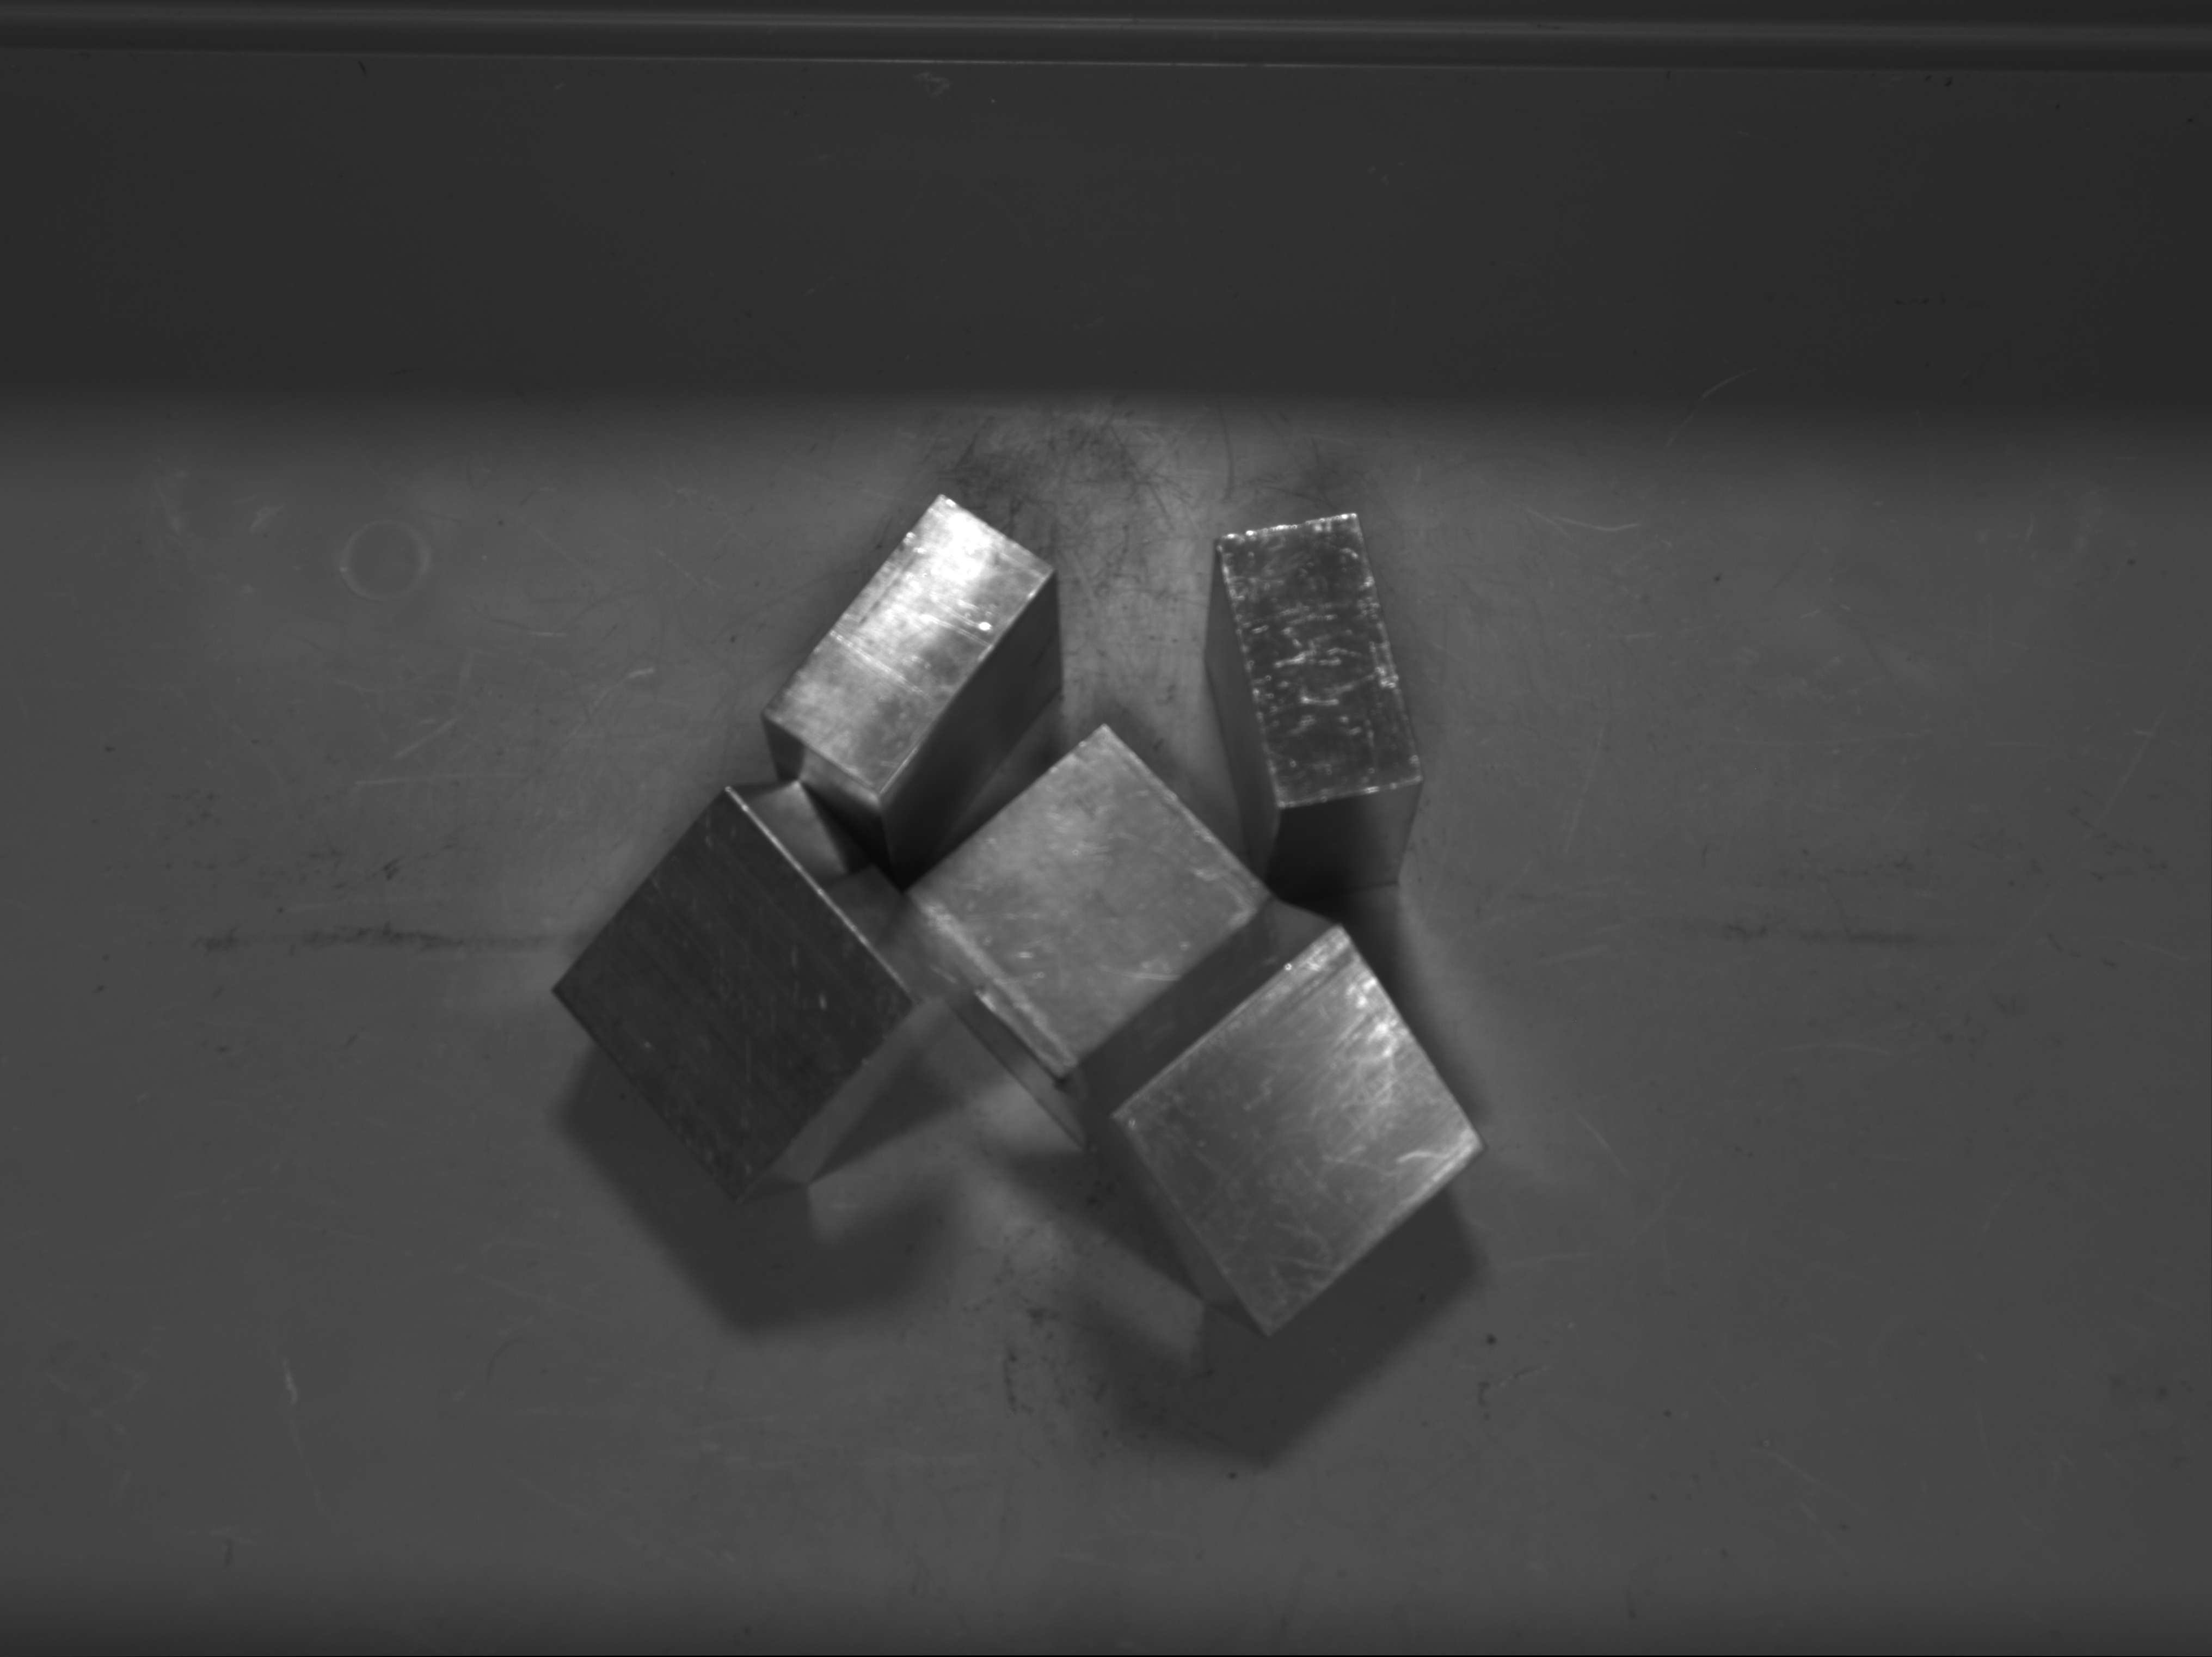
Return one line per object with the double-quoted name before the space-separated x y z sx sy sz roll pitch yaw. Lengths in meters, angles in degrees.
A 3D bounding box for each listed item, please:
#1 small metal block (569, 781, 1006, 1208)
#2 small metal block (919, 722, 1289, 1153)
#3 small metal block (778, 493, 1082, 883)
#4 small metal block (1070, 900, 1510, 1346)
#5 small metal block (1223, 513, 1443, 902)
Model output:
"small metal block" -0.054 0.028 0.621 0.050 0.025 0.050 47 109 15
"small metal block" 0.001 0.019 0.636 0.050 0.025 0.050 -40 75 -13
"small metal block" -0.029 -0.023 0.638 0.025 0.050 0.050 35 74 12
"small metal block" 0.031 0.049 0.612 0.050 0.025 0.050 -39 111 -13
"small metal block" 0.038 -0.020 0.637 0.025 0.050 0.050 -10 70 -5
